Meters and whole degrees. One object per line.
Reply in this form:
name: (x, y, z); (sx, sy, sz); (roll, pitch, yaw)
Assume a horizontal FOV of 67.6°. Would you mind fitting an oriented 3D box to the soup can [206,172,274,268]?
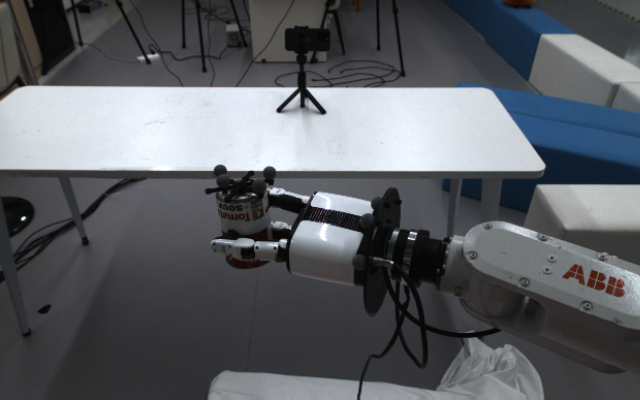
soup can: (-0.097, 0.032, 0.645); (0.067, 0.101, 0.067); (-3, 27, 2)
